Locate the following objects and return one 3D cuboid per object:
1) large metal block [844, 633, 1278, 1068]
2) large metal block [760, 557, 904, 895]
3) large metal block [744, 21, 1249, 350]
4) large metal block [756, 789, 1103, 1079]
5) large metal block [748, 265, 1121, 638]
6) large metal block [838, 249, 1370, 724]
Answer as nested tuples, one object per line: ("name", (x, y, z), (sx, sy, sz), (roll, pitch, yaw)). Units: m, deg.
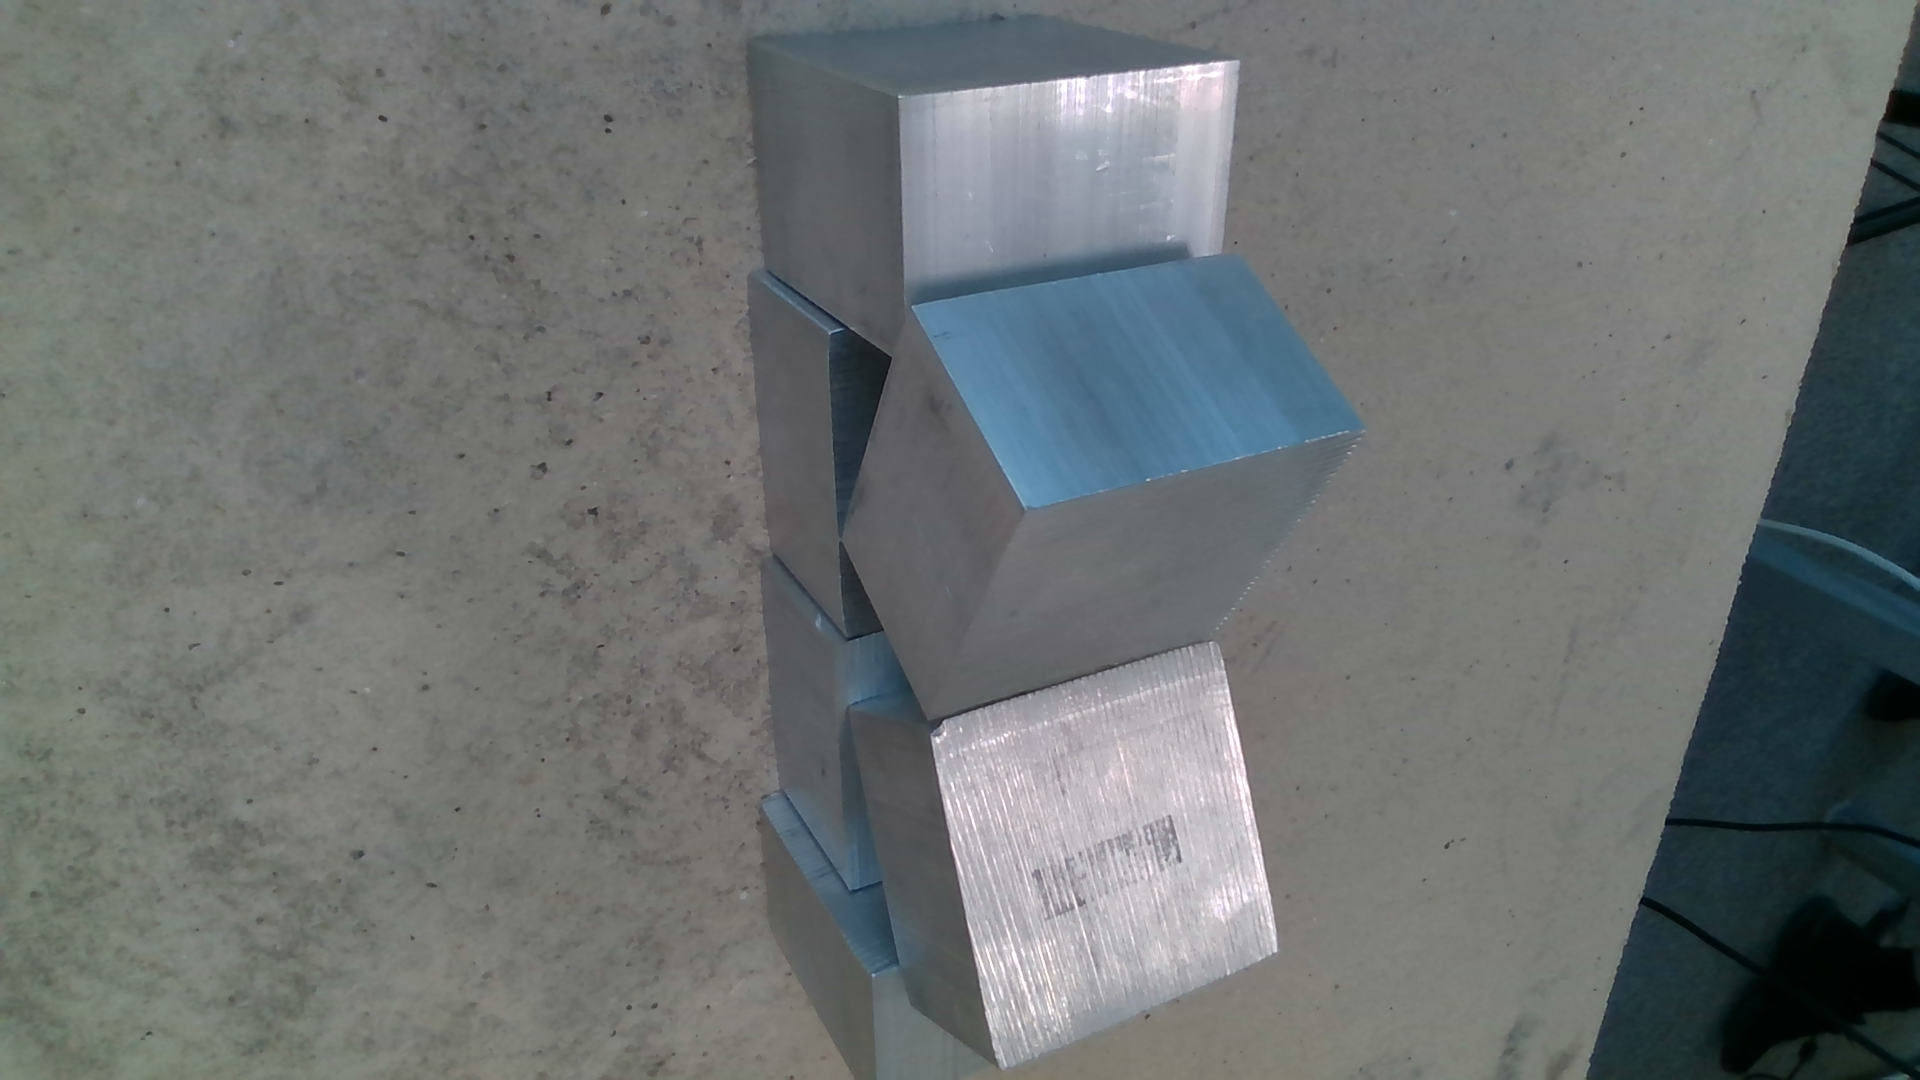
("large metal block", (0.025, 0.071, 0.343), (0.080, 0.050, 0.080), (-14, 95, -26))
("large metal block", (-0.007, 0.042, 0.391), (0.080, 0.050, 0.080), (-14, 121, -25))
("large metal block", (0.006, -0.084, 0.312), (0.080, 0.080, 0.050), (-16, 121, -26))
("large metal block", (-0.007, 0.106, 0.409), (0.080, 0.080, 0.050), (-14, 122, -25))
("large metal block", (-0.005, -0.030, 0.354), (0.080, 0.050, 0.080), (-14, 121, -25))
("large metal block", (0.026, -0.011, 0.299), (0.080, 0.050, 0.080), (-14, 151, -25))
